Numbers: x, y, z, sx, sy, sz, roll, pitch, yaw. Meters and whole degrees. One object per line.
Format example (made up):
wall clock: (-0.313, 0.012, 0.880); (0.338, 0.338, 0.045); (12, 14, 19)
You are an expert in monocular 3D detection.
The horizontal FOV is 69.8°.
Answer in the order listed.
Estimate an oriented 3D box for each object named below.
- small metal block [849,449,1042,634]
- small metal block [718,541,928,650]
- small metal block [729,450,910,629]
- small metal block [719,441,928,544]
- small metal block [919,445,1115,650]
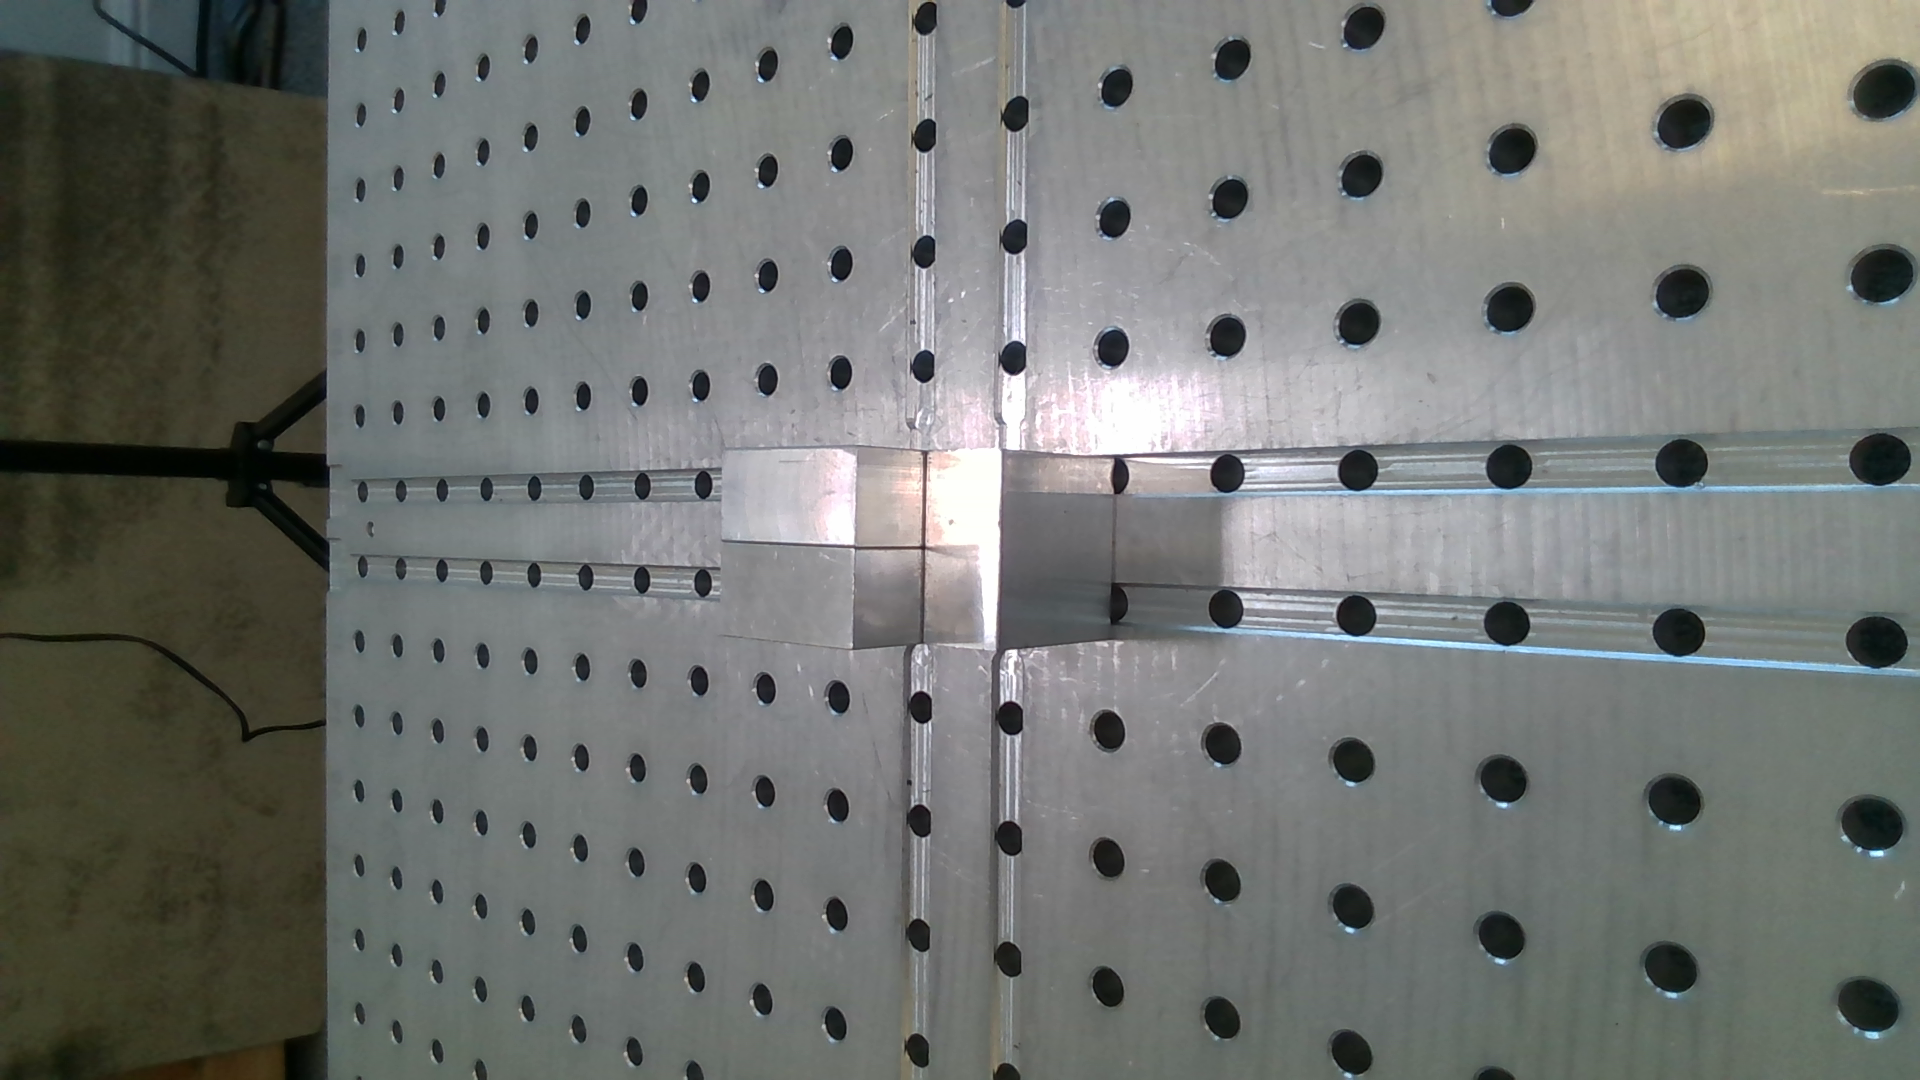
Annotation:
small metal block: (-0.005, 0.000, 0.397); (0.050, 0.025, 0.050); (2, 90, 40)
small metal block: (-0.029, 0.014, 0.369); (0.050, 0.050, 0.025); (2, 90, 40)
small metal block: (-0.041, 0.000, 0.412); (0.025, 0.050, 0.050); (2, 91, 40)
small metal block: (-0.028, -0.012, 0.368); (0.050, 0.050, 0.025); (2, 92, 40)
small metal block: (0.016, 0.001, 0.363); (0.025, 0.050, 0.050); (3, 92, 40)
